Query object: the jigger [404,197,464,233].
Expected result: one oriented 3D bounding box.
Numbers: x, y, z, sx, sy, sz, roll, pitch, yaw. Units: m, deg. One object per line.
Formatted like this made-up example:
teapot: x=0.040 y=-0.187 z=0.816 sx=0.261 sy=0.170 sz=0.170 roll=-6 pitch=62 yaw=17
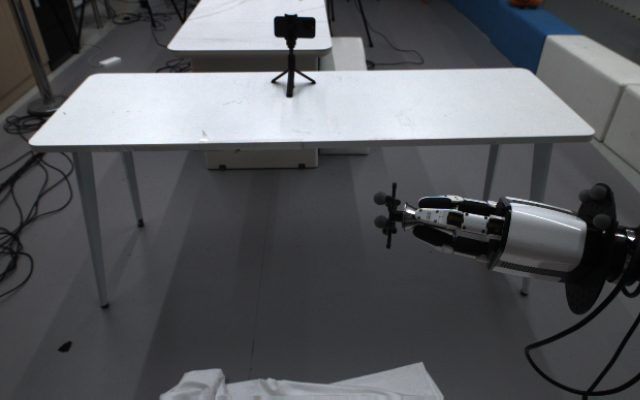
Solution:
jigger: x=0.152 y=0.020 z=0.638 sx=0.071 sy=0.043 sz=0.043 roll=4 pitch=34 yaw=18
